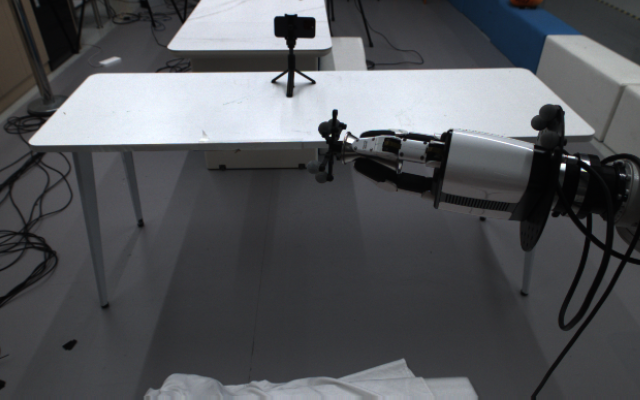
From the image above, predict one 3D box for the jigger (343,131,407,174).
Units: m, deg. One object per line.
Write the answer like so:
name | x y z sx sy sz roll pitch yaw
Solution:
jigger | 0.069 -0.060 0.573 0.071 0.043 0.043 10 35 16
